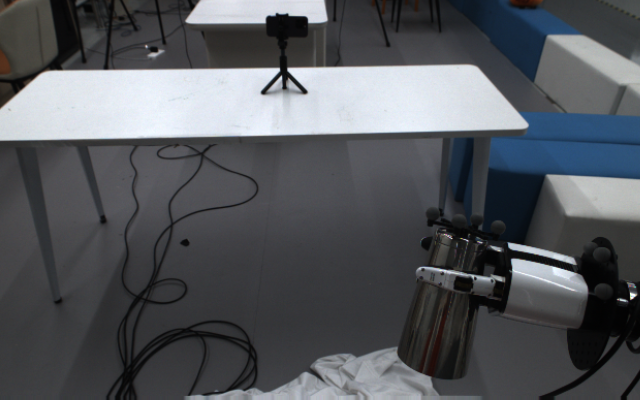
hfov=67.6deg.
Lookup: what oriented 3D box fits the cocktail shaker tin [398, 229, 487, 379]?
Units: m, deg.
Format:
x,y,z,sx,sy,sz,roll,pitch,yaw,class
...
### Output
x,y,z,sx,sy,sz,roll,pitch,yaw,class
0.165,0.123,0.618,0.093,0.170,0.093,10,9,-2,cocktail shaker tin
